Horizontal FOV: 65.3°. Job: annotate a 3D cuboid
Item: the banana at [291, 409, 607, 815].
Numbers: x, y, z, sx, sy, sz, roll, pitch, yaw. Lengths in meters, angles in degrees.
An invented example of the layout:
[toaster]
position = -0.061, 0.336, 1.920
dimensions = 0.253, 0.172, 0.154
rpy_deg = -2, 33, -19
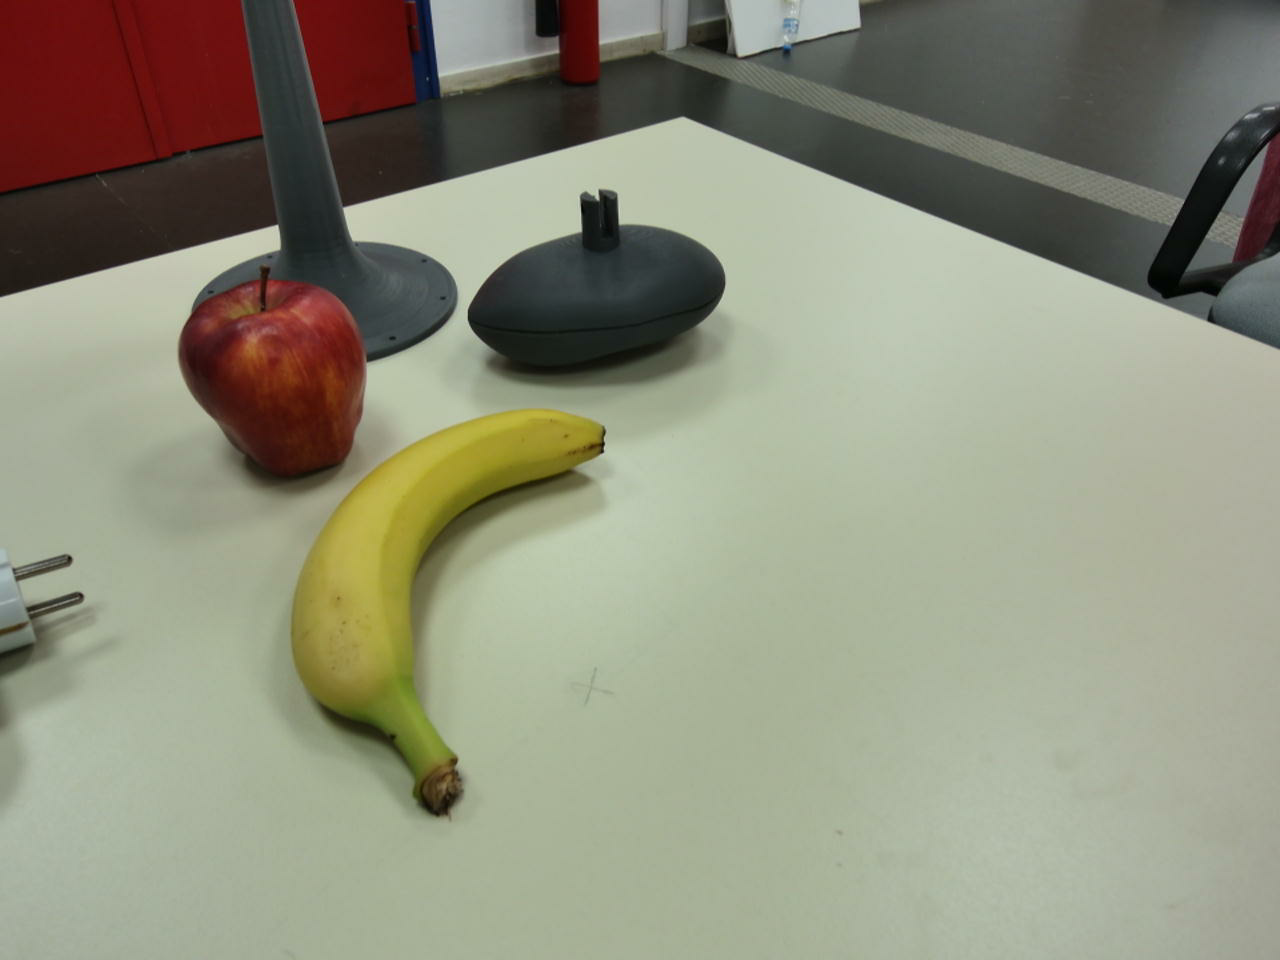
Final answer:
[banana]
position = -0.081, 0.029, 0.393
dimensions = 0.094, 0.041, 0.196
rpy_deg = 9, 37, 11
